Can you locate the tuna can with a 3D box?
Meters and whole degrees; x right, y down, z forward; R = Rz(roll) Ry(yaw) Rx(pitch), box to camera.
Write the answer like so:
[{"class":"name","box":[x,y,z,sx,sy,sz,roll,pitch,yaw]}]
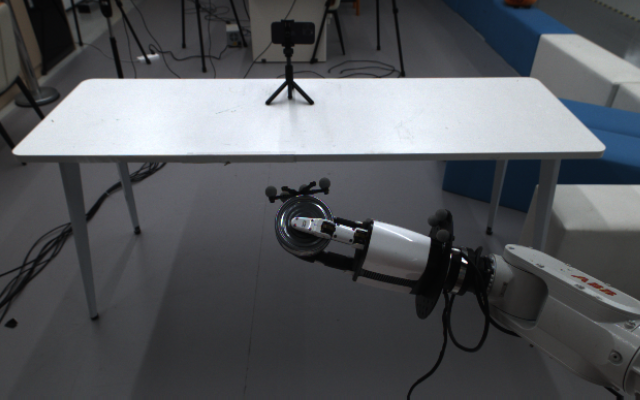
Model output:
[{"class":"tuna can","box":[-0.018,0.041,0.691,0.085,0.034,0.085,0,72,-1]}]
